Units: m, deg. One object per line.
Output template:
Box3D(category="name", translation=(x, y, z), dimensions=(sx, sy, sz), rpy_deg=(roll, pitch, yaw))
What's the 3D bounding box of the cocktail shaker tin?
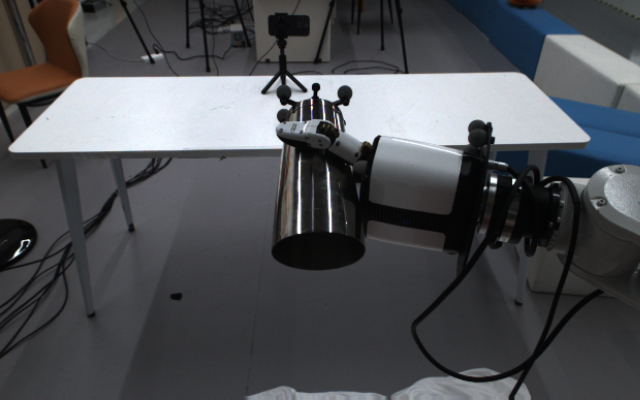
Box3D(category="cocktail shaker tin", translation=(-0.004, -0.022, 0.510), dimensions=(0.093, 0.093, 0.170), rpy_deg=(0, 59, -3))
